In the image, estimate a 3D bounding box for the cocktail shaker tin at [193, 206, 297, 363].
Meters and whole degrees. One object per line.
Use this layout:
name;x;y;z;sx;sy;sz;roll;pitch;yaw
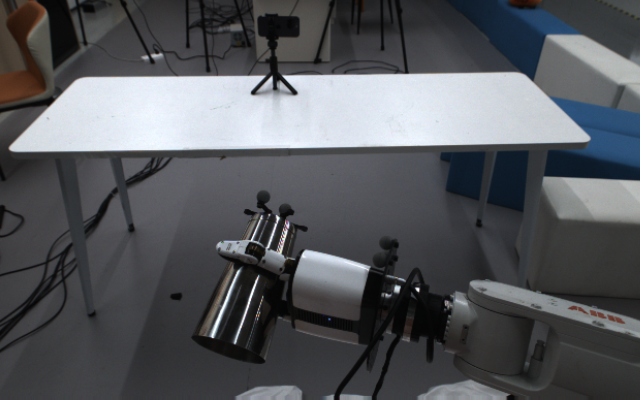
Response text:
cocktail shaker tin;-0.081;0.105;0.601;0.093;0.093;0.170;10;59;11
